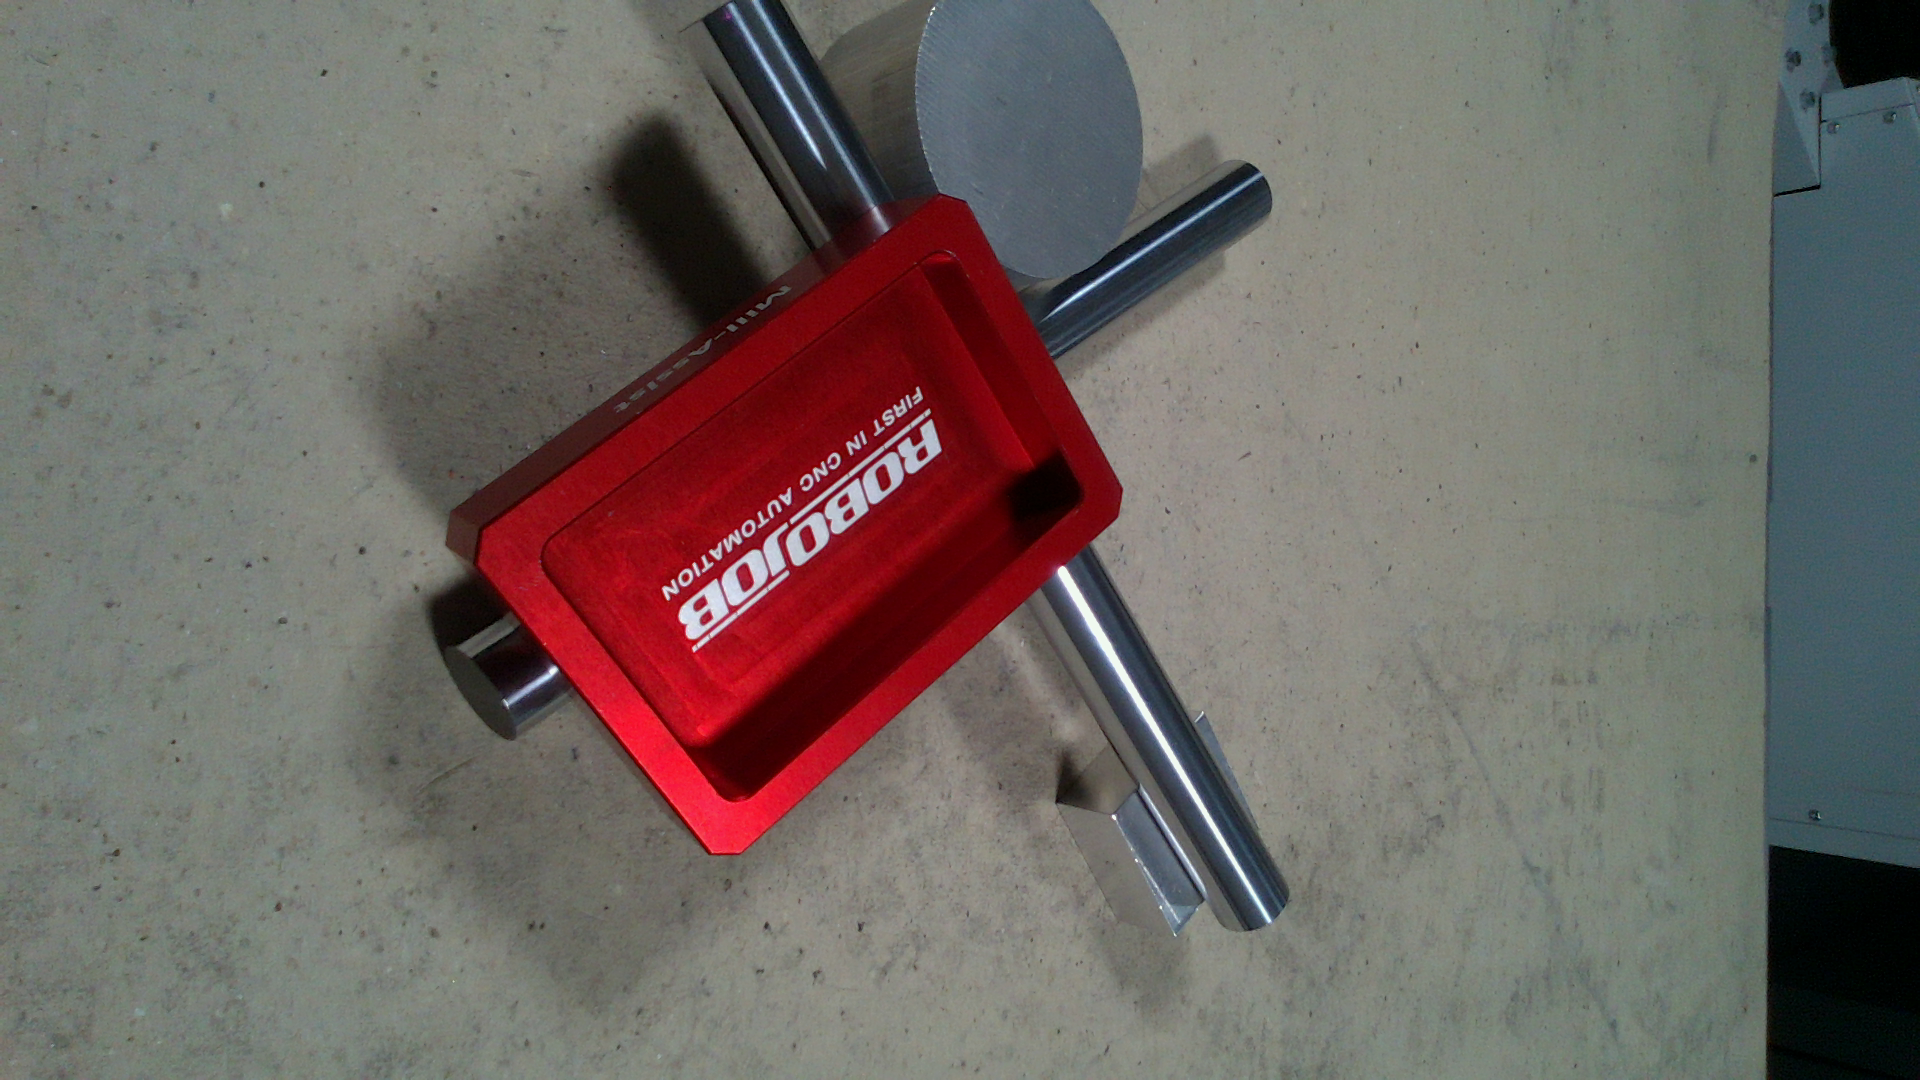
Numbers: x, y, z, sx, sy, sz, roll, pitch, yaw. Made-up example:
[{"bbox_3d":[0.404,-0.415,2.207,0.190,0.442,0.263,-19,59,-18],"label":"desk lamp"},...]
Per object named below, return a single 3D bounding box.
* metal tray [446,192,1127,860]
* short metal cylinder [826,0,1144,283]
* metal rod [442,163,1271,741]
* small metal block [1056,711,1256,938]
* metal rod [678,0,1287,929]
[{"bbox_3d":[-0.033,-0.005,0.308,0.130,0.030,0.090,-41,115,-19],"label":"metal tray"},{"bbox_3d":[0.004,-0.108,0.375,0.080,0.050,0.080,0,90,-40],"label":"short metal cylinder"},{"bbox_3d":[-0.005,-0.041,0.385,0.301,0.025,0.025,-37,113,-34],"label":"metal rod"},{"bbox_3d":[0.065,0.089,0.442,0.050,0.025,0.050,-41,115,-32],"label":"small metal block"},{"bbox_3d":[0.019,-0.004,0.373,0.025,0.025,0.300,-46,118,-30],"label":"metal rod"}]
